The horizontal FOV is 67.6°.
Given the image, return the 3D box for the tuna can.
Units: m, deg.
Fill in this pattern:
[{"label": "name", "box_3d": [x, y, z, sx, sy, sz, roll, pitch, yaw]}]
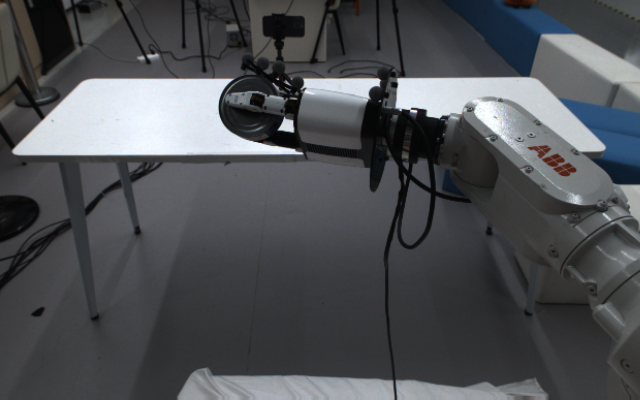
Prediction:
[{"label": "tuna can", "box_3d": [-0.092, -0.125, 0.662, 0.085, 0.085, 0.034, 10, -4, 11]}]
